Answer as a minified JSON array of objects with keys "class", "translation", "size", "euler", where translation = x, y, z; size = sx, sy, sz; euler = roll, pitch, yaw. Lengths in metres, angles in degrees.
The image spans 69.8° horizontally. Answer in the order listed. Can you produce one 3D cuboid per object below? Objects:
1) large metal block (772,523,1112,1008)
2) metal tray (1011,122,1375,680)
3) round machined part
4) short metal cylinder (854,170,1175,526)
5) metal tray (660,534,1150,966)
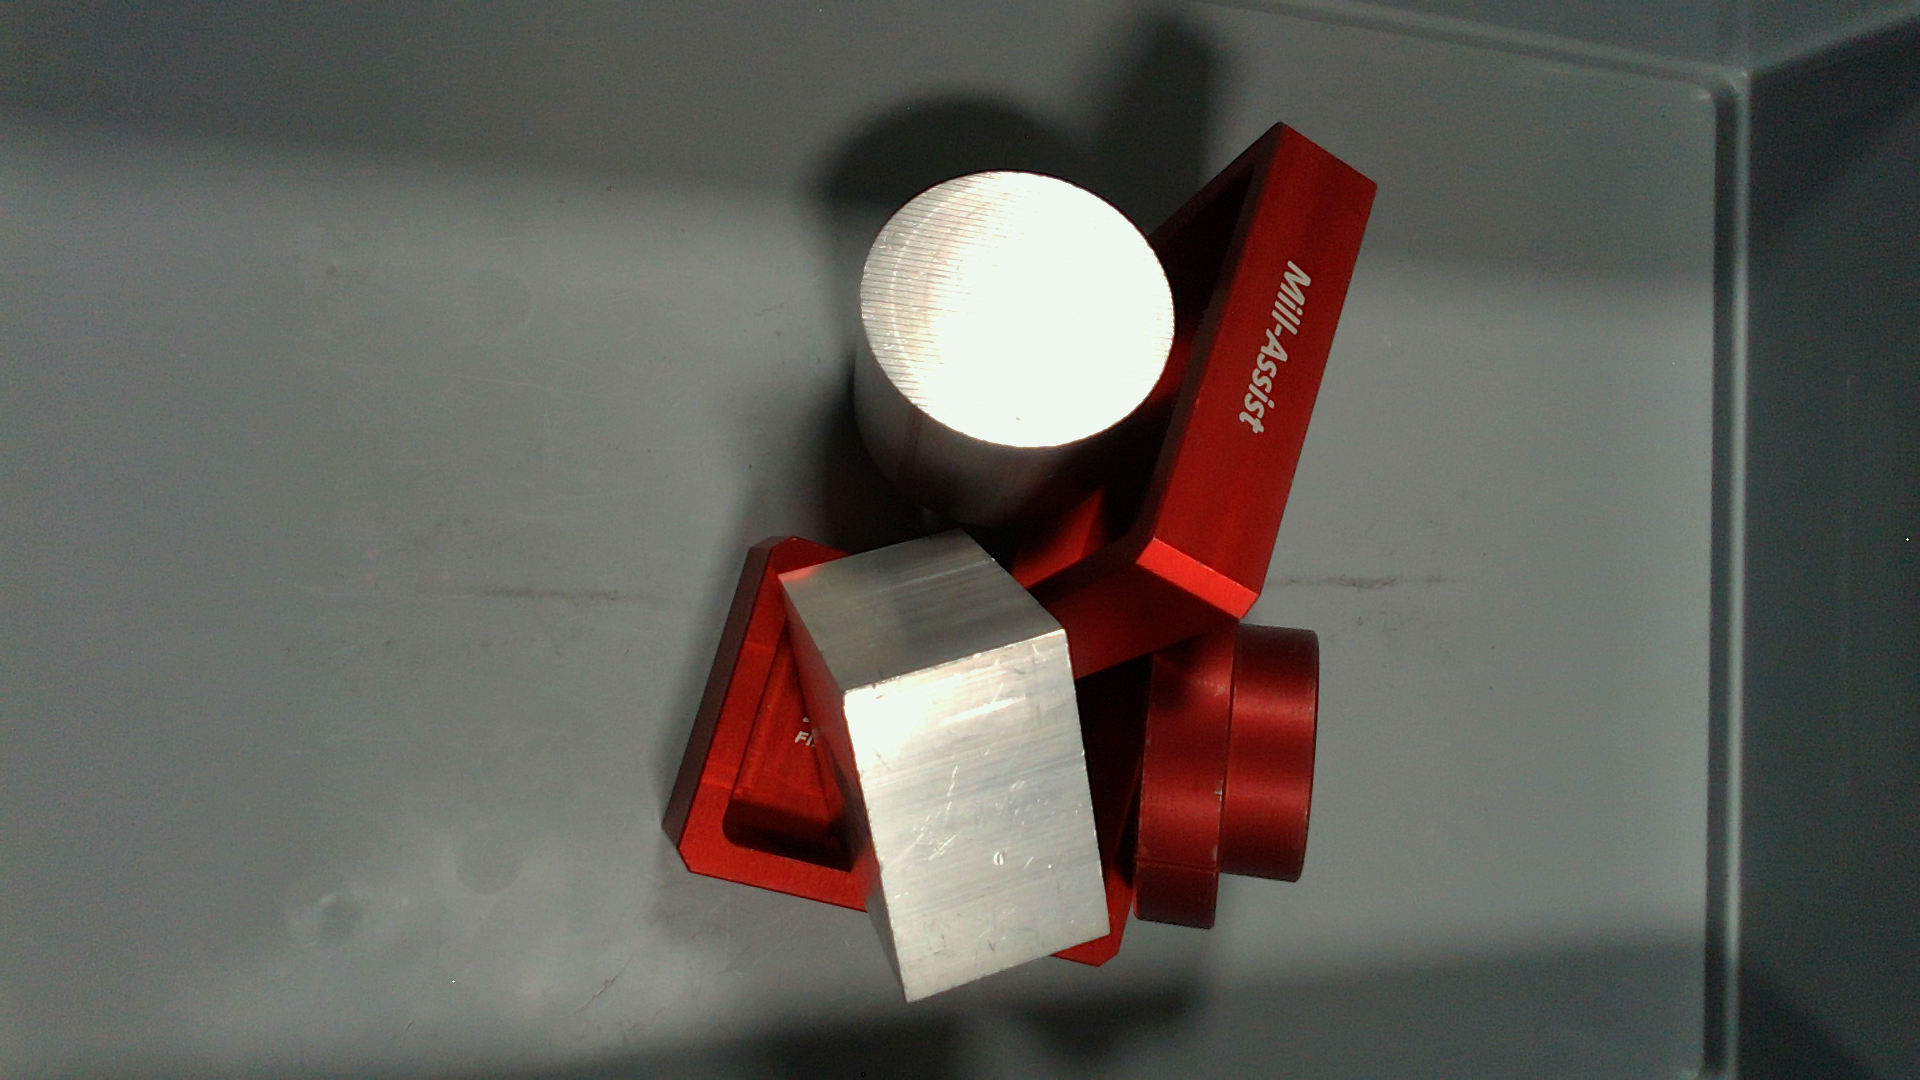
[{"class":"large metal block","translation":[-0.006,0.050,0.336],"size":[0.050,0.080,0.080],"euler":[-15,111,-13]},{"class":"metal tray","translation":[0.056,-0.034,0.362],"size":[0.030,0.090,0.130],"euler":[27,66,-15]},{"class":"round machined part","translation":[0.074,0.057,0.377],"size":[0.042,0.098,0.098],"euler":[5,88,11]},{"class":"short metal cylinder","translation":[0.012,-0.050,0.367],"size":[0.080,0.050,0.080],"euler":[3,67,-6]},{"class":"metal tray","translation":[-0.007,0.059,0.386],"size":[0.130,0.030,0.090],"euler":[18,84,-19]}]
